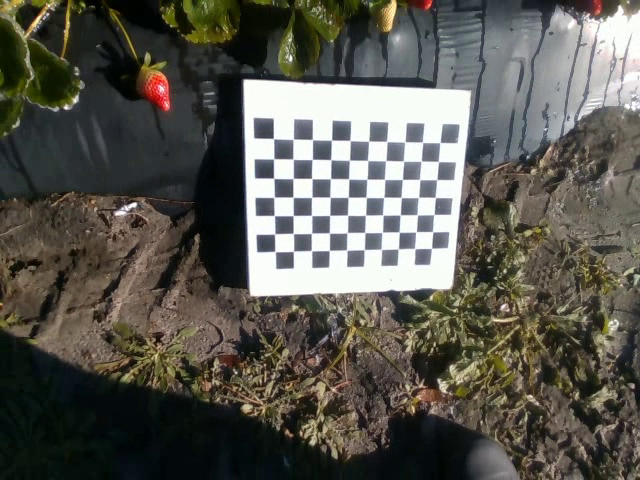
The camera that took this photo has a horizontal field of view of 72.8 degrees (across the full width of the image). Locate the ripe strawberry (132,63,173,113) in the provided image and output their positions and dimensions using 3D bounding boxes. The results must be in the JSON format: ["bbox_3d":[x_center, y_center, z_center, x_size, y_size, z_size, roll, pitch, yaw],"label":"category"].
[{"bbox_3d":[-0.184,-0.169,0.472,0.039,0.053,0.041,-23,0,-3],"label":"ripe strawberry"}]
